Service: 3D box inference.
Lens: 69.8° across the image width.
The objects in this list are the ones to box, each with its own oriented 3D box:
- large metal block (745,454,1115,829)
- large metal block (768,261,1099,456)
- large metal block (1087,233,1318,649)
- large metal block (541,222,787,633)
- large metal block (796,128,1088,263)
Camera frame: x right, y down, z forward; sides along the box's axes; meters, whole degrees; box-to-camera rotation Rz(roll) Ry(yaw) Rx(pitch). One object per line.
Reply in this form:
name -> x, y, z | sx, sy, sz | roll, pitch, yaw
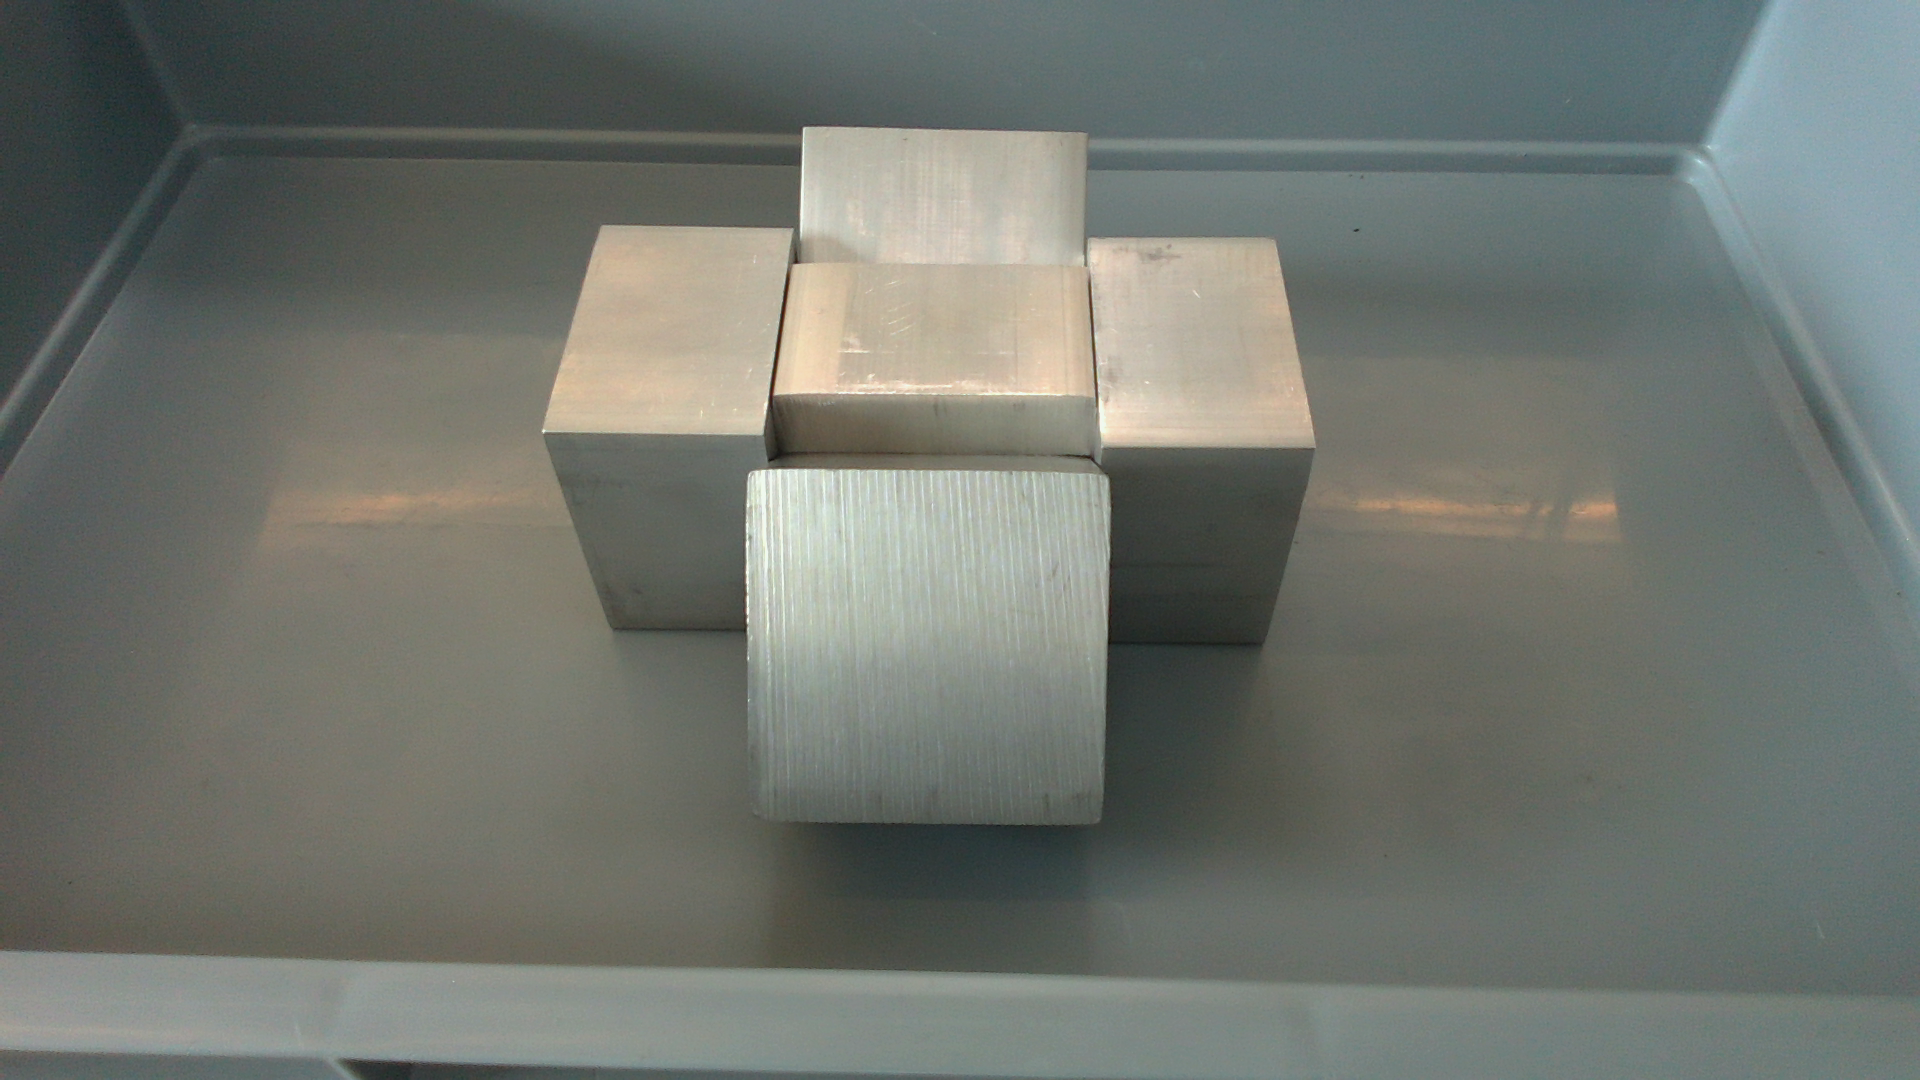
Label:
large metal block -> -0.007, 0.021, 0.328 | 0.080, 0.080, 0.050 | 1, 8, 0
large metal block -> -0.006, -0.029, 0.379 | 0.080, 0.080, 0.050 | 1, 50, 1
large metal block -> 0.059, -0.026, 0.377 | 0.050, 0.080, 0.080 | 1, 50, 1
large metal block -> -0.073, -0.030, 0.380 | 0.050, 0.080, 0.080 | 0, 50, 1
large metal block -> -0.004, -0.087, 0.420 | 0.080, 0.080, 0.050 | 1, 87, 1
